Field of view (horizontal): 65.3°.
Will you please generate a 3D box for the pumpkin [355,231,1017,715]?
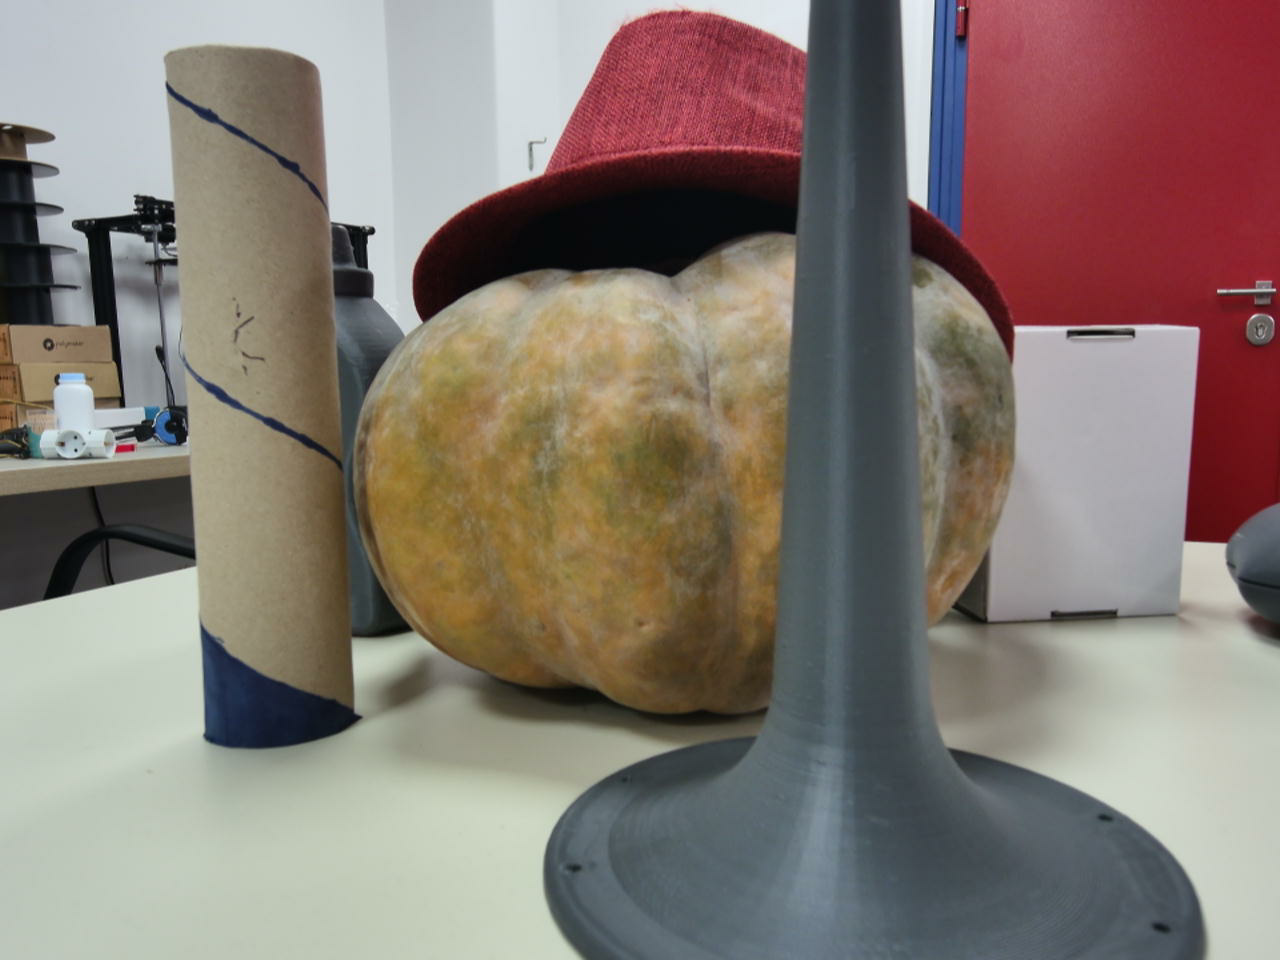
[{"bbox_3d":[0.011,-0.005,0.397,0.252,0.168,0.252,0,4,0],"label":"pumpkin"}]
